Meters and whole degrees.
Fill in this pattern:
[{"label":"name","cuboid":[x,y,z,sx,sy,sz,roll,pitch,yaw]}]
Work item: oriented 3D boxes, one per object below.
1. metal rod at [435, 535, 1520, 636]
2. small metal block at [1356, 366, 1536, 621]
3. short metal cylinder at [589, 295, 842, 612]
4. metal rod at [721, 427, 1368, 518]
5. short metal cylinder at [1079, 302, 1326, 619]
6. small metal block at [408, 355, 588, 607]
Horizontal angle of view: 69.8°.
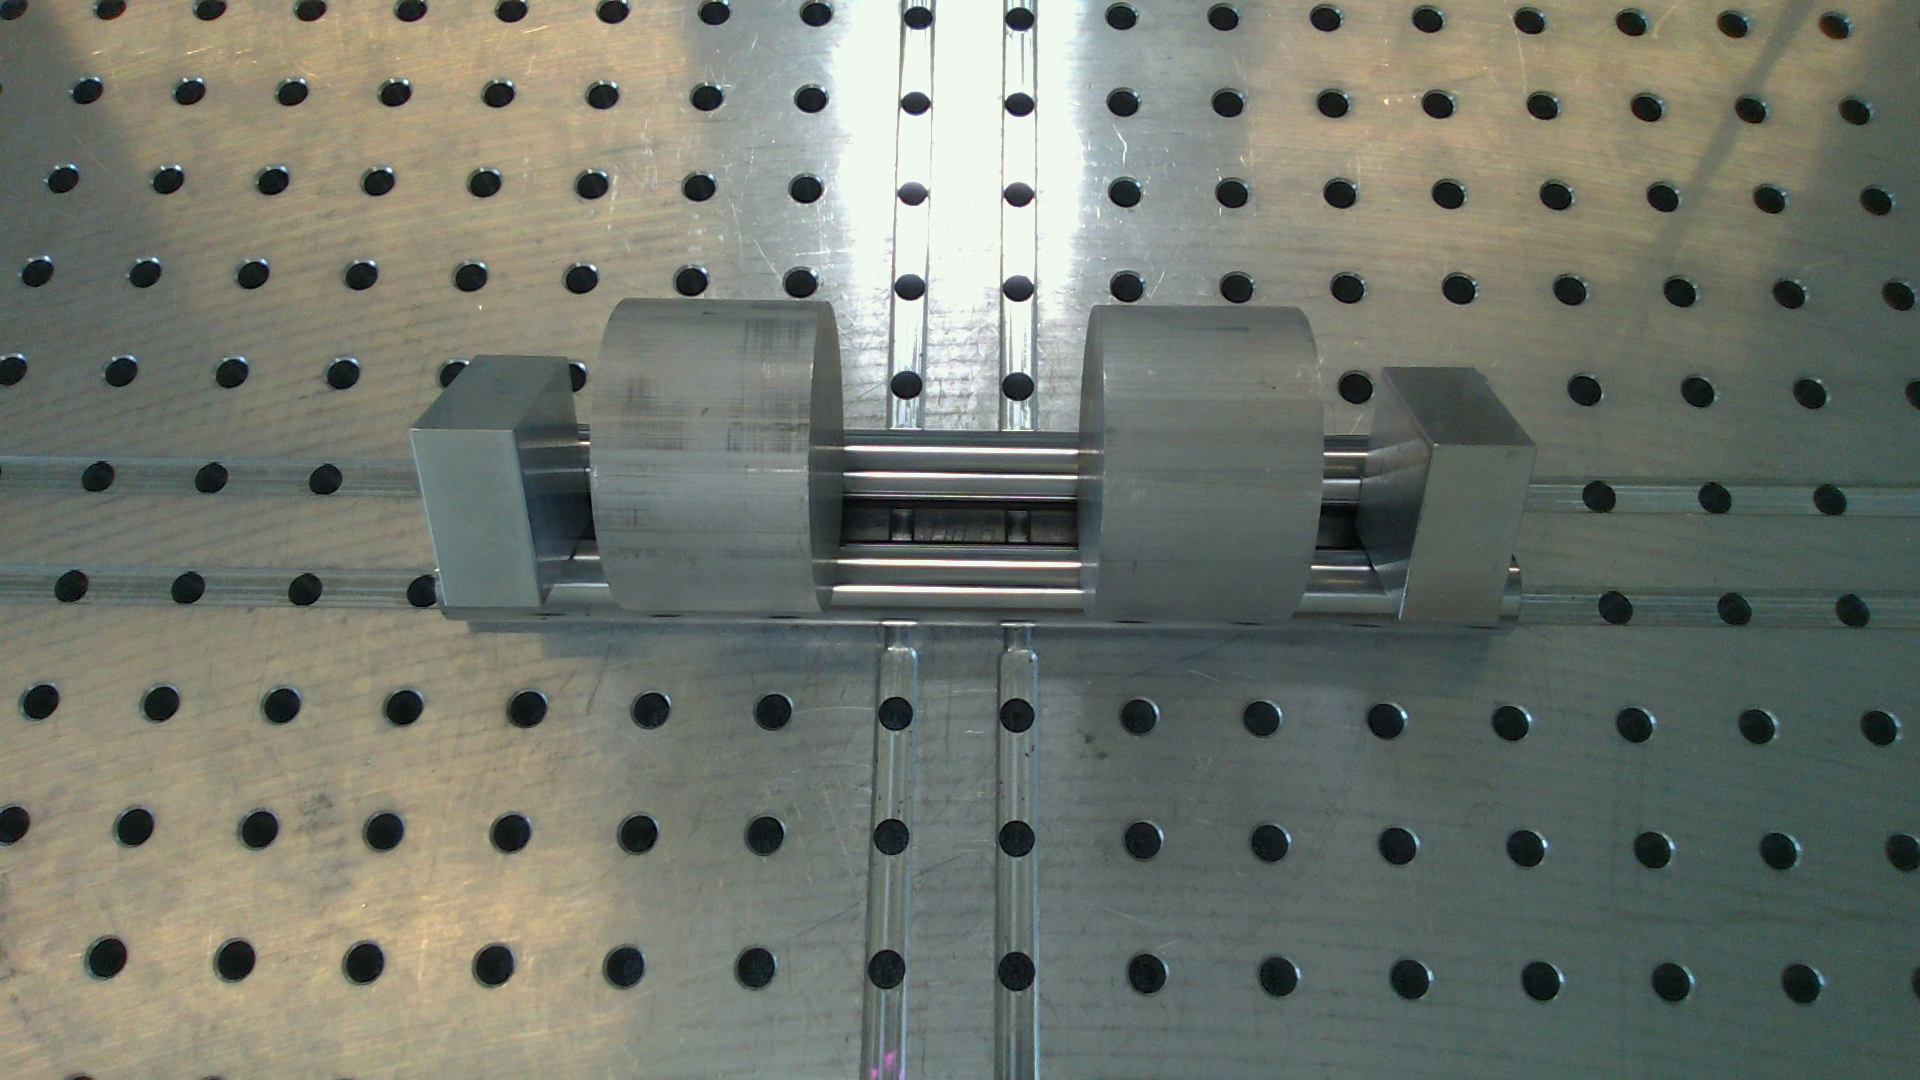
[{"label":"metal rod","cuboid":[0.005,0.013,0.393,0.300,0.025,0.025,1,70,0]},{"label":"small metal block","cuboid":[0.126,-0.013,0.365,0.025,0.050,0.050,0,29,1]},{"label":"short metal cylinder","cuboid":[-0.059,-0.022,0.352,0.050,0.080,0.080,1,70,0]},{"label":"metal rod","cuboid":[0.008,-0.020,0.405,0.300,0.025,0.025,1,70,0]},{"label":"short metal cylinder","cuboid":[0.058,-0.020,0.352,0.050,0.080,0.080,1,70,0]},{"label":"small metal block","cuboid":[-0.120,-0.017,0.366,0.025,0.050,0.050,1,28,1]}]
